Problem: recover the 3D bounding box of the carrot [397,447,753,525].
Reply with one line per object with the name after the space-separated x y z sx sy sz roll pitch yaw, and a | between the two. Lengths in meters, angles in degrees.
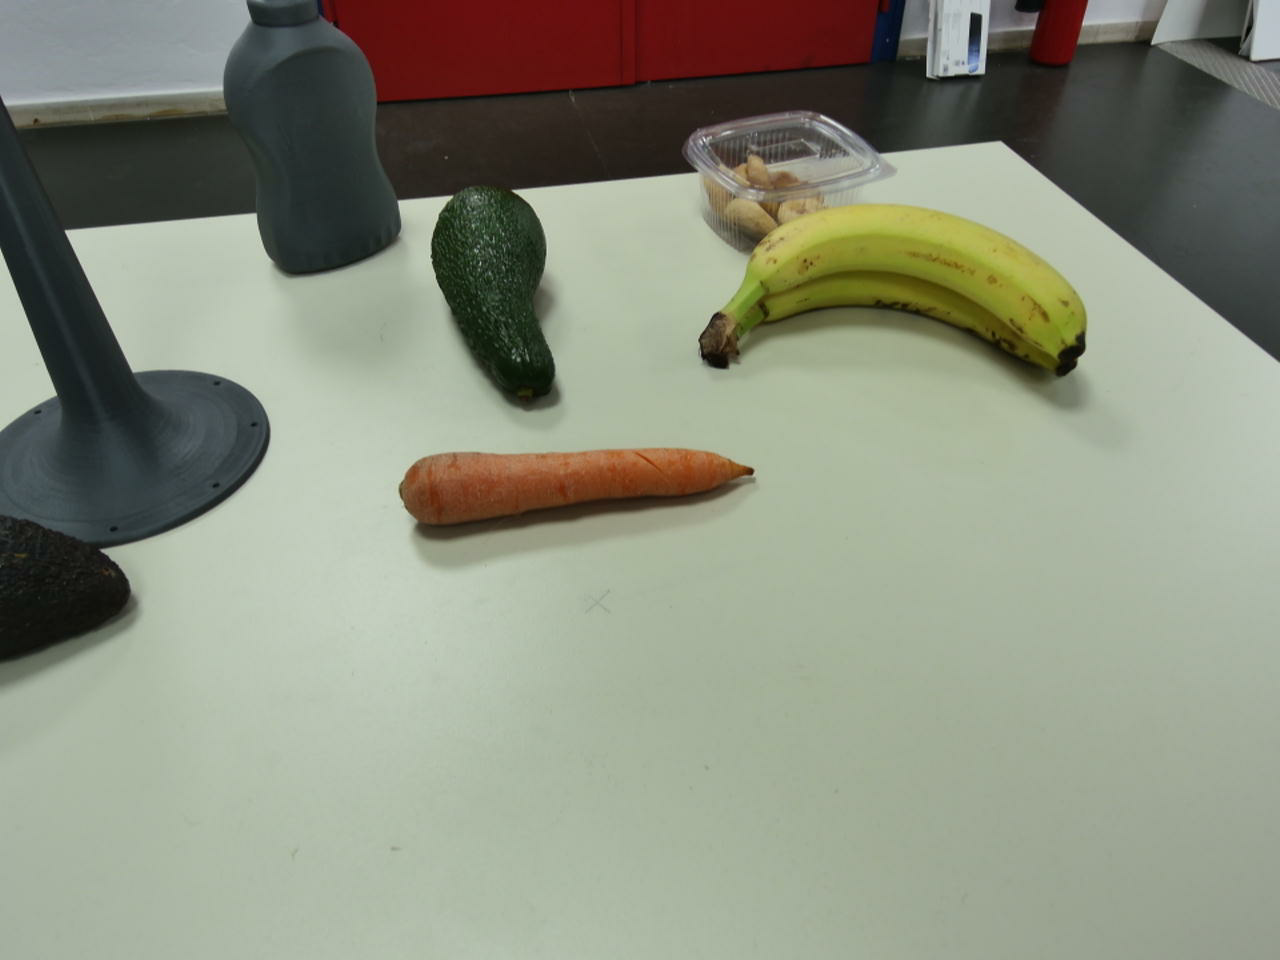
-0.031 -0.005 0.548 0.196 0.041 0.039 -7 40 -10 | carrot
